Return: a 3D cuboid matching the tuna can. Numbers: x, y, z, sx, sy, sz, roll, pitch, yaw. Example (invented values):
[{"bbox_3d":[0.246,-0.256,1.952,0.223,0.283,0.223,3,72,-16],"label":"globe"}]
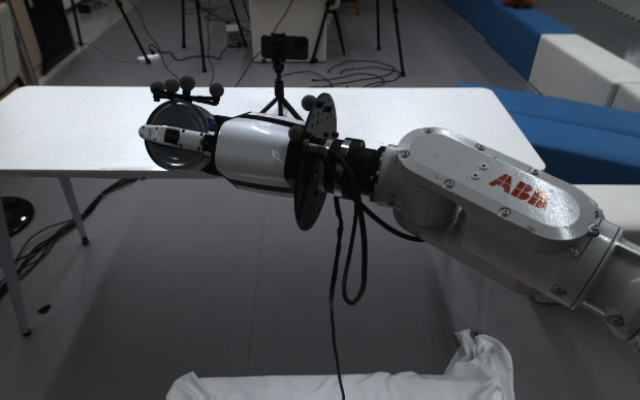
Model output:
[{"bbox_3d":[-0.167,-0.078,0.590,0.085,0.085,0.034,12,3,13],"label":"tuna can"}]
